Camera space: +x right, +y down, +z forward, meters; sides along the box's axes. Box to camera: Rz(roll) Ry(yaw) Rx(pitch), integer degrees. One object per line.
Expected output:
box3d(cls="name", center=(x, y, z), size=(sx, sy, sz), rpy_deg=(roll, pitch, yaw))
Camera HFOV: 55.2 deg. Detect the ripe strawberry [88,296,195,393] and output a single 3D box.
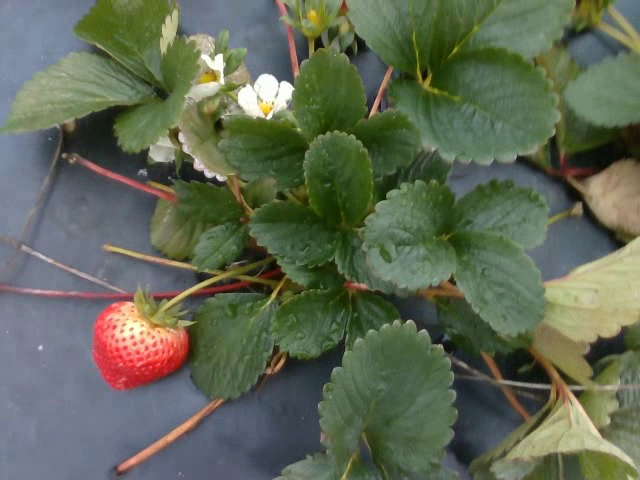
box3d(cls="ripe strawberry", center=(-0.114, 0.067, 0.364), size=(0.061, 0.065, 0.050), rpy_deg=(18, 21, -17))
